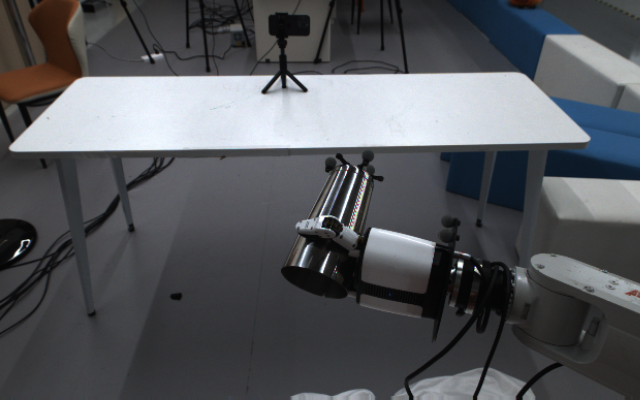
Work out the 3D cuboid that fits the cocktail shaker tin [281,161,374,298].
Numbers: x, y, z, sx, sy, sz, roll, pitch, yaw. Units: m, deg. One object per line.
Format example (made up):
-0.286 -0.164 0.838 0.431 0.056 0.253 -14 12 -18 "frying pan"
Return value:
0.018 0.038 0.661 0.093 0.093 0.170 14 60 16 "cocktail shaker tin"
